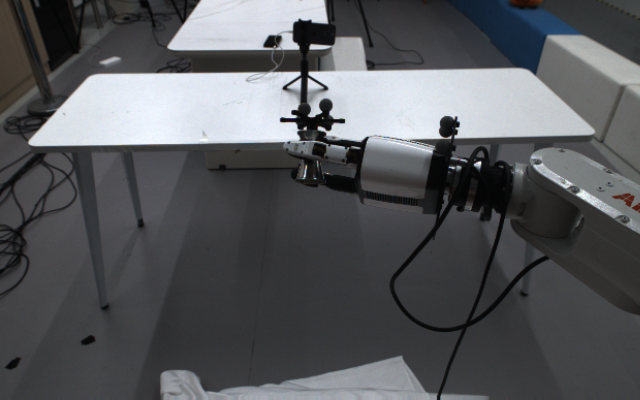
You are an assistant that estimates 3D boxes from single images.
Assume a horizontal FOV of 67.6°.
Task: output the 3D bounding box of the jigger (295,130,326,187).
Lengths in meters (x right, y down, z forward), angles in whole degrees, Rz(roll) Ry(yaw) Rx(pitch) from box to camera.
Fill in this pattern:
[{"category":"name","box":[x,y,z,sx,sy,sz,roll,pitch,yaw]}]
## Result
[{"category":"jigger","box":[-0.014,-0.059,0.660,0.043,0.071,0.043,3,-6,0]}]
